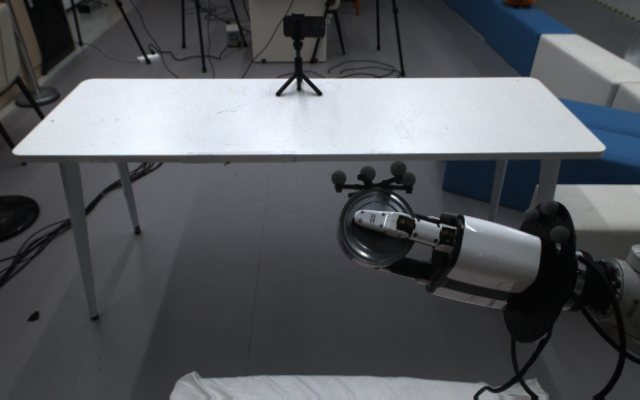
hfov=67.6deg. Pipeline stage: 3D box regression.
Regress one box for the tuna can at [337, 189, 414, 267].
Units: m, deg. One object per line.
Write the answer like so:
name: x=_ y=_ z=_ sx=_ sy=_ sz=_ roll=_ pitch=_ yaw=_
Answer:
tuna can: x=0.063 y=0.029 z=0.534 sx=0.085 sy=0.034 sz=0.085 roll=1 pitch=70 yaw=-4
